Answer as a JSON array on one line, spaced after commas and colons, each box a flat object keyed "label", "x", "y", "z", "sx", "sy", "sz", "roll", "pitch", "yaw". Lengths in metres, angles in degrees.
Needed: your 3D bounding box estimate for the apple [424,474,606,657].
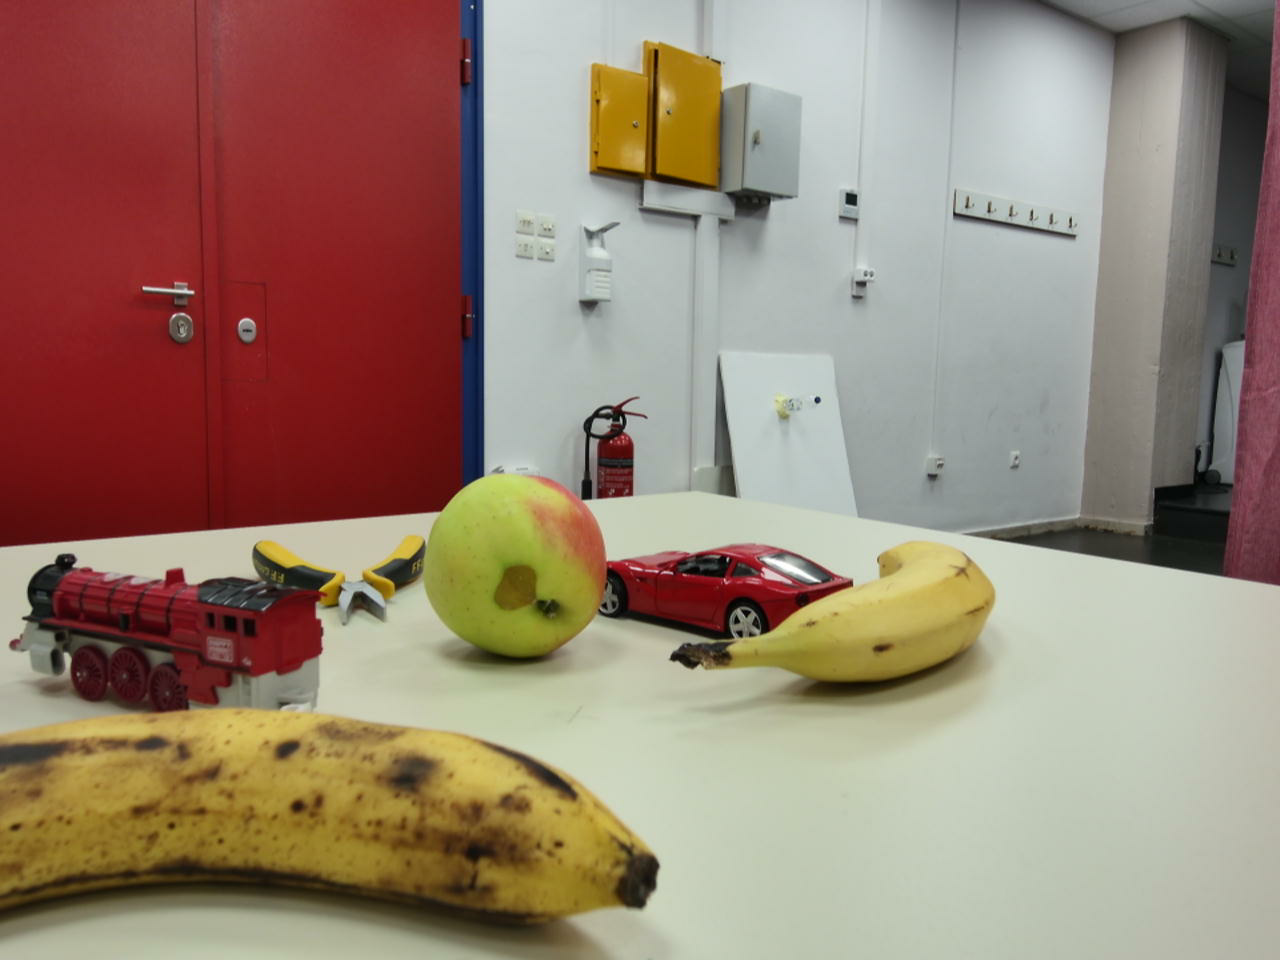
[{"label": "apple", "x": -0.051, "y": 0.035, "z": 0.418, "sx": 0.075, "sy": 0.074, "sz": 0.075, "roll": 3, "pitch": 5, "yaw": 32}]
